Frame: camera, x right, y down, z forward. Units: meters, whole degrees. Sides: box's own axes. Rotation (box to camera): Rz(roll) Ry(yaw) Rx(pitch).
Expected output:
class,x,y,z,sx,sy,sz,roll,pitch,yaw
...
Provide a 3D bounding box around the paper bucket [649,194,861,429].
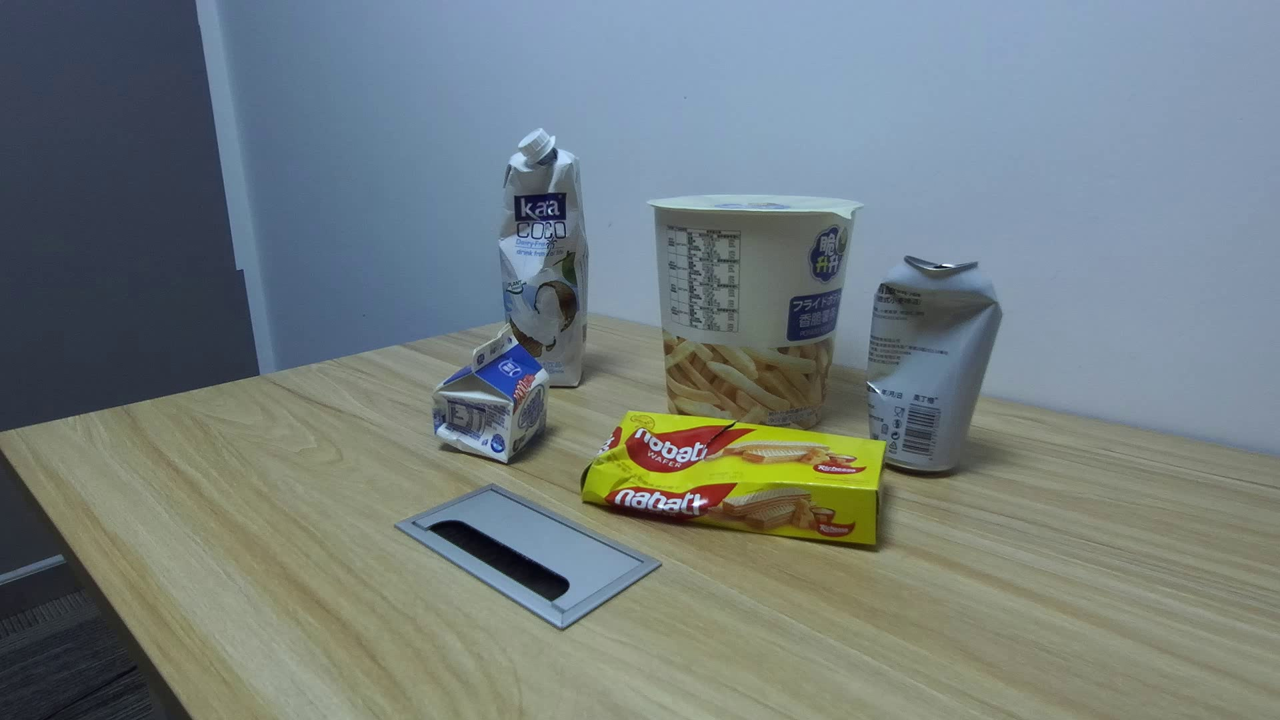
class,x,y,z,sx,sy,sz,roll,pitch,yaw
paper bucket,0.100,-0.046,0.647,0.198,0.194,0.198,0,17,0

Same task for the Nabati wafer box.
class,x,y,z,sx,sy,sz,roll,pitch,yaw
Nabati wafer box,0.063,0.079,0.495,0.203,0.042,0.107,5,16,20

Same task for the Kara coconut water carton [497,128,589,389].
class,x,y,z,sx,sy,sz,roll,pitch,yaw
Kara coconut water carton,-0.098,-0.100,0.717,0.083,0.255,0.078,6,20,15

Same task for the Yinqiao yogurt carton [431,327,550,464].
class,x,y,z,sx,sy,sz,roll,pitch,yaw
Yinqiao yogurt carton,-0.124,0.024,0.582,0.080,0.097,0.074,11,20,14
